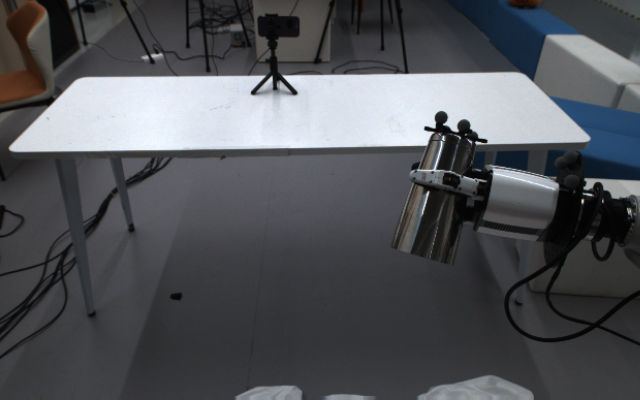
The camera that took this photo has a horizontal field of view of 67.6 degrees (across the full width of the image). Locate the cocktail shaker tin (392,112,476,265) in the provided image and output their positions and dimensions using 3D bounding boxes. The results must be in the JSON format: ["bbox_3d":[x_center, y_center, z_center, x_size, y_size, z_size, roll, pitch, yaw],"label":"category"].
[{"bbox_3d":[0.167,-0.003,0.680,0.093,0.170,0.093,16,-2,1],"label":"cocktail shaker tin"}]
